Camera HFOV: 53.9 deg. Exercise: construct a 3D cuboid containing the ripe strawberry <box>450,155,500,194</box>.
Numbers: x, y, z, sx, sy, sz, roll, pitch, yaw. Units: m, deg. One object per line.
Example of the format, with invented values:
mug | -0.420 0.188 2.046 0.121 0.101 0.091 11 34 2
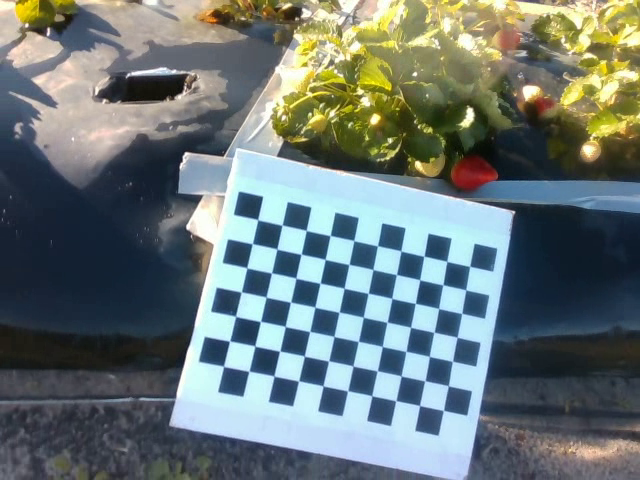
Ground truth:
ripe strawberry | 0.165 -0.071 0.673 0.048 0.045 0.063 41 -9 -30
